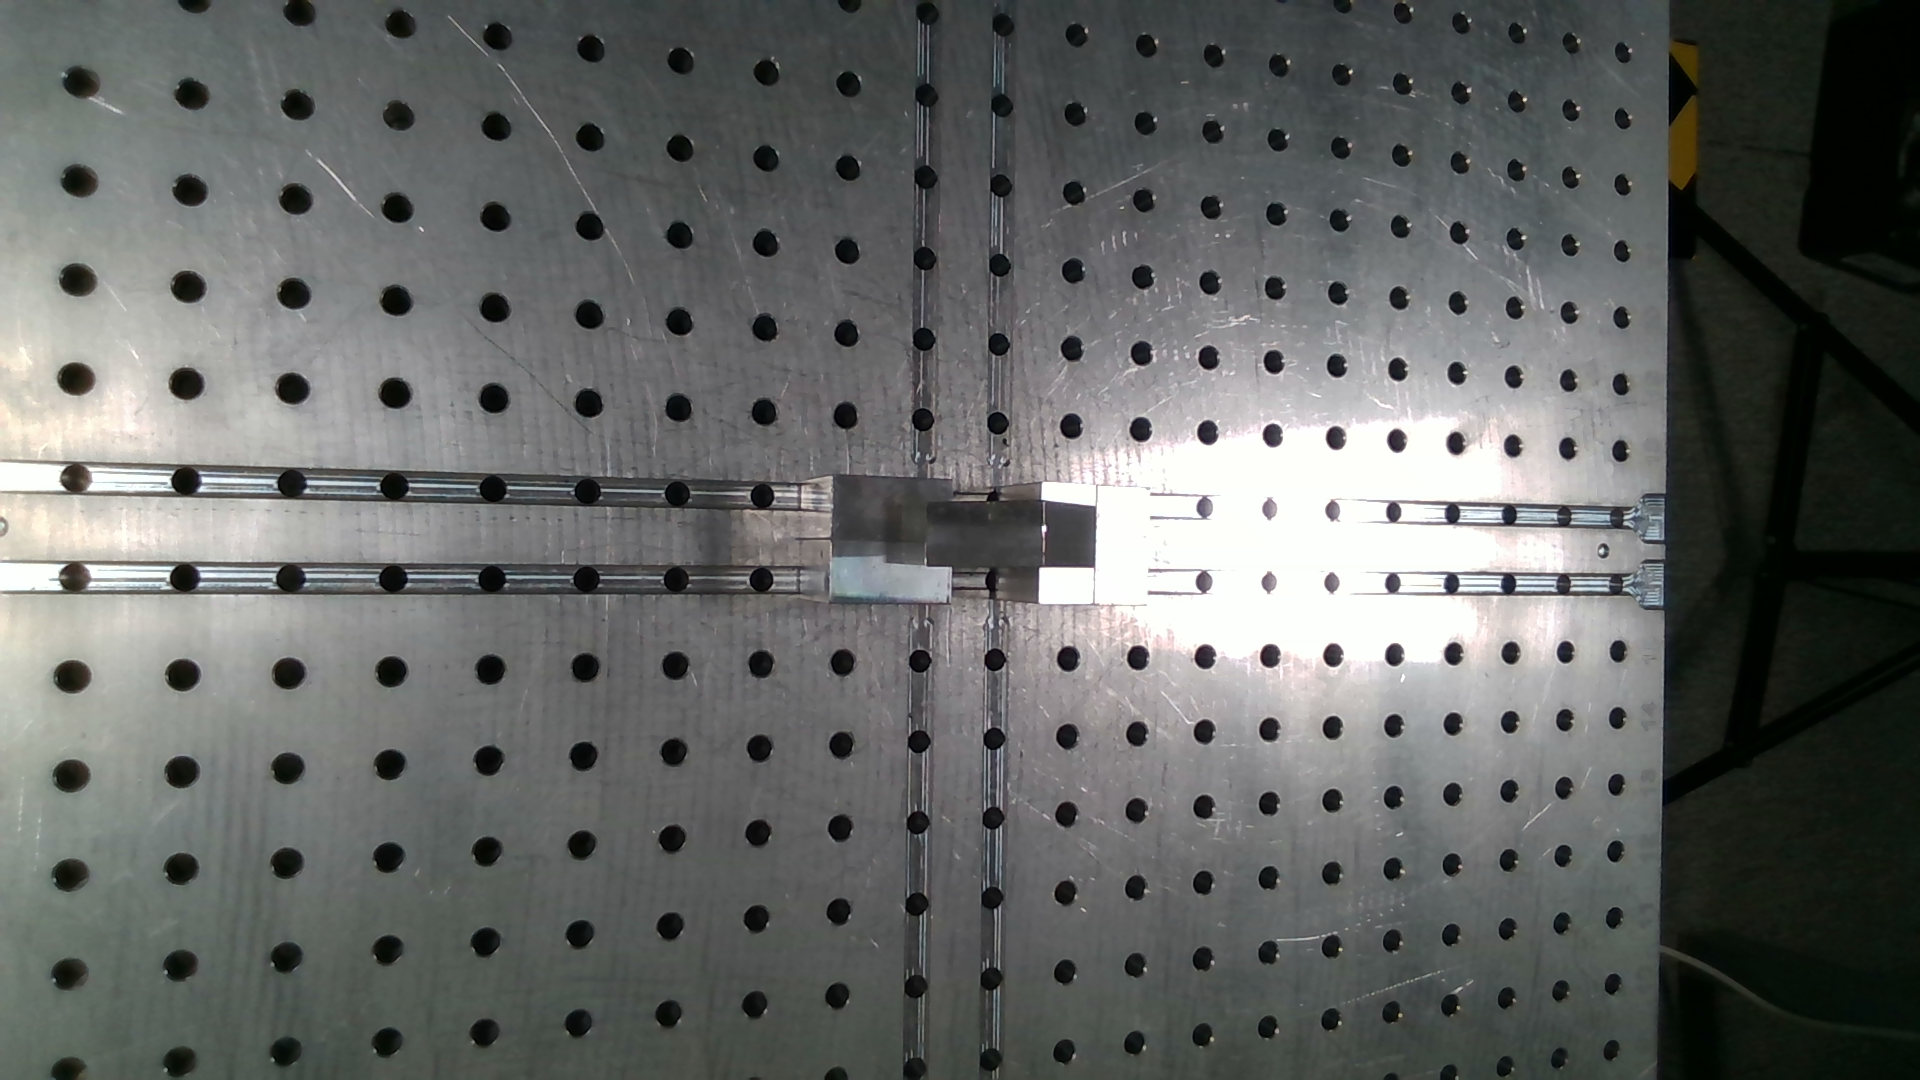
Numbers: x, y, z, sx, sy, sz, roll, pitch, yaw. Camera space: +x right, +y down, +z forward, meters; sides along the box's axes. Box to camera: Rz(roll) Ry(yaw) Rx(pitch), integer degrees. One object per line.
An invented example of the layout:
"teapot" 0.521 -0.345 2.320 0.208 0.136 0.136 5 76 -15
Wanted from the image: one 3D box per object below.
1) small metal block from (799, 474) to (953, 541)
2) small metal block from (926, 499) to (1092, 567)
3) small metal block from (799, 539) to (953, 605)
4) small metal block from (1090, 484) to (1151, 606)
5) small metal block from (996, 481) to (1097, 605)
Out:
"small metal block" -0.035 -0.012 0.562 0.050 0.050 0.025 1 89 -20
"small metal block" 0.021 -0.002 0.539 0.050 0.050 0.025 2 88 -63
"small metal block" -0.035 0.013 0.561 0.050 0.050 0.025 1 89 -20
"small metal block" 0.059 0.002 0.596 0.025 0.050 0.050 2 89 -20
"small metal block" 0.035 0.001 0.588 0.025 0.050 0.050 2 89 -20
